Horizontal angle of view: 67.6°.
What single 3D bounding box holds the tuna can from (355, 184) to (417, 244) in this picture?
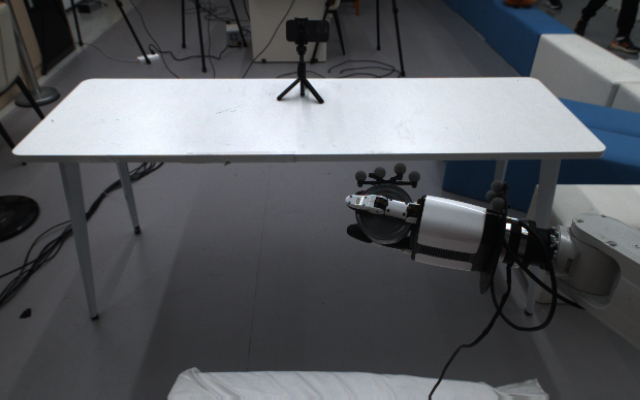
[{"bbox_3d":[0.097,0.024,0.704,0.085,0.034,0.085,-4,70,11],"label":"tuna can"}]
